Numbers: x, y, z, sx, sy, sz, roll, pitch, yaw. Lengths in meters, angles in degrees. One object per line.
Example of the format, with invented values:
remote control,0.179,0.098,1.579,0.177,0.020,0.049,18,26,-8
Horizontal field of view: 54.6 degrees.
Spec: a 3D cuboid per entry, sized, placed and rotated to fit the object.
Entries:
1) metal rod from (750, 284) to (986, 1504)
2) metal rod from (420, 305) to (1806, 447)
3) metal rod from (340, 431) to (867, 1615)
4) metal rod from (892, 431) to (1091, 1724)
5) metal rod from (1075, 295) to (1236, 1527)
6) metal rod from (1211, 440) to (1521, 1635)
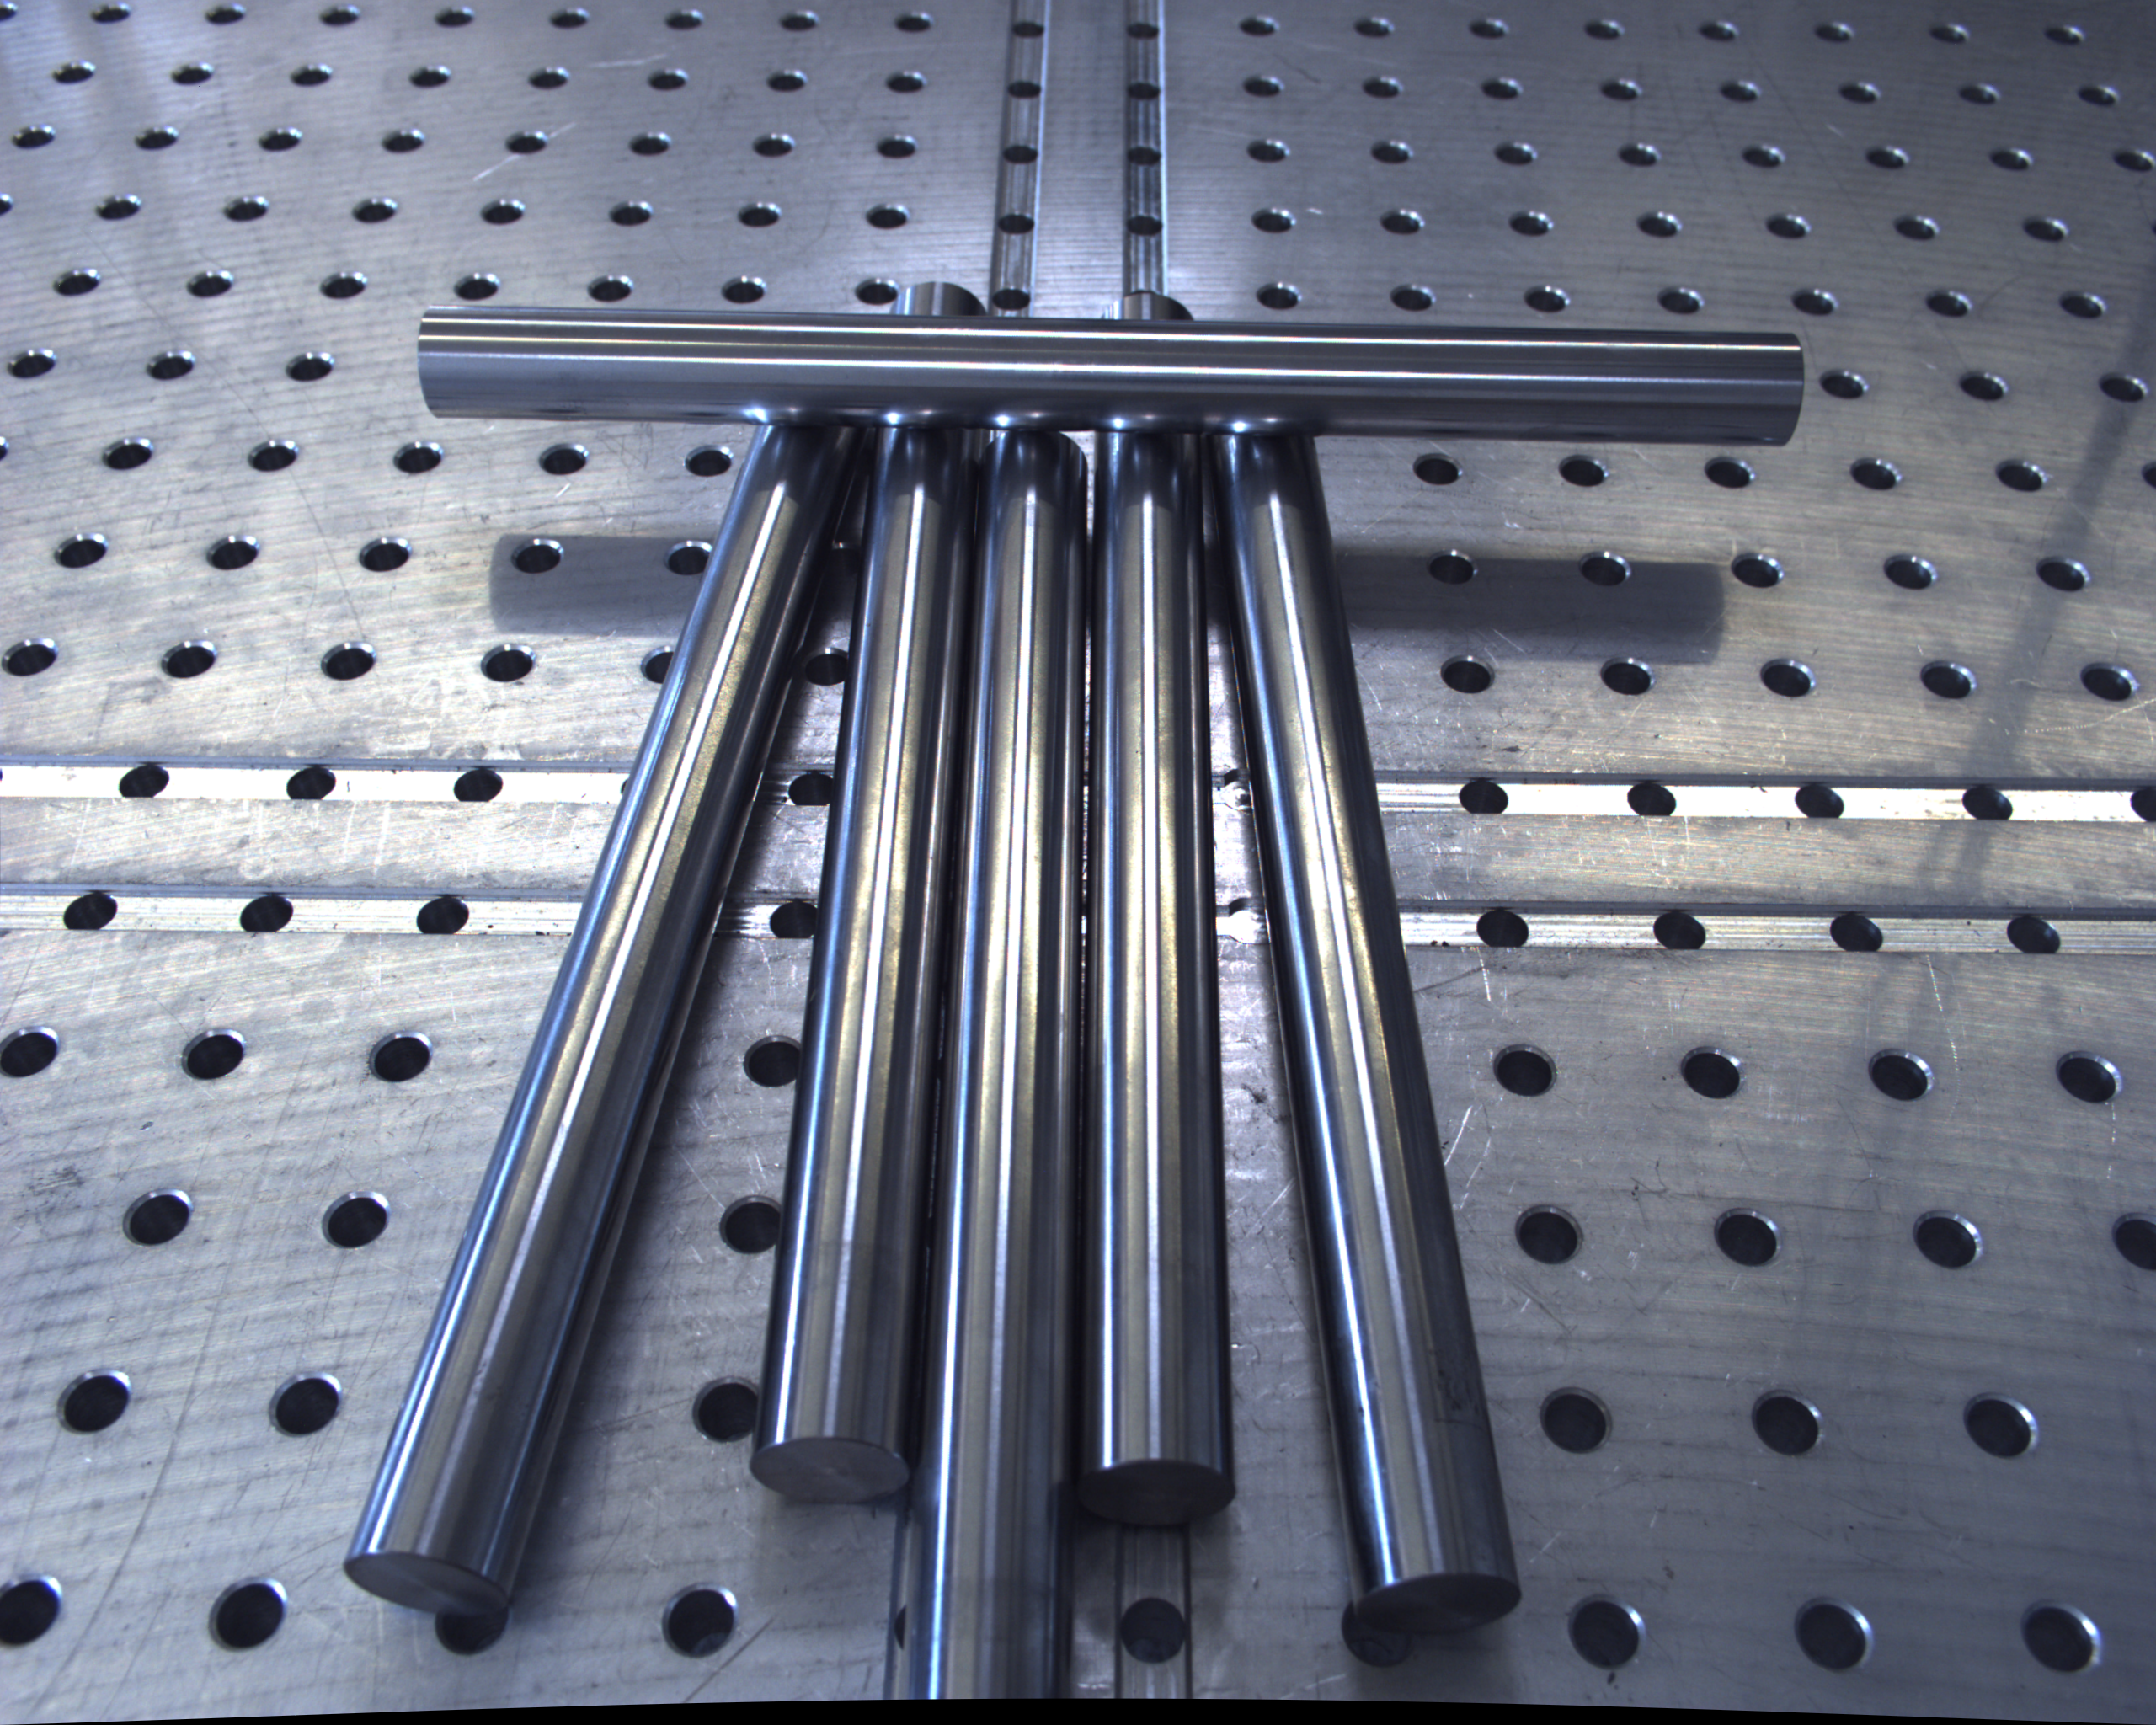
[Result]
metal rod,-0.037,-0.019,0.424,0.025,0.025,0.300,1,50,1
metal rod,0.007,-0.109,0.467,0.302,0.025,0.025,1,50,1
metal rod,-0.079,-0.005,0.410,0.025,0.025,0.300,6,50,5
metal rod,-0.012,0.024,0.388,0.025,0.025,0.300,1,50,1
metal rod,0.015,-0.016,0.423,0.025,0.025,0.300,1,50,1
metal rod,0.048,-0.003,0.411,0.025,0.025,0.300,-2,50,-1
